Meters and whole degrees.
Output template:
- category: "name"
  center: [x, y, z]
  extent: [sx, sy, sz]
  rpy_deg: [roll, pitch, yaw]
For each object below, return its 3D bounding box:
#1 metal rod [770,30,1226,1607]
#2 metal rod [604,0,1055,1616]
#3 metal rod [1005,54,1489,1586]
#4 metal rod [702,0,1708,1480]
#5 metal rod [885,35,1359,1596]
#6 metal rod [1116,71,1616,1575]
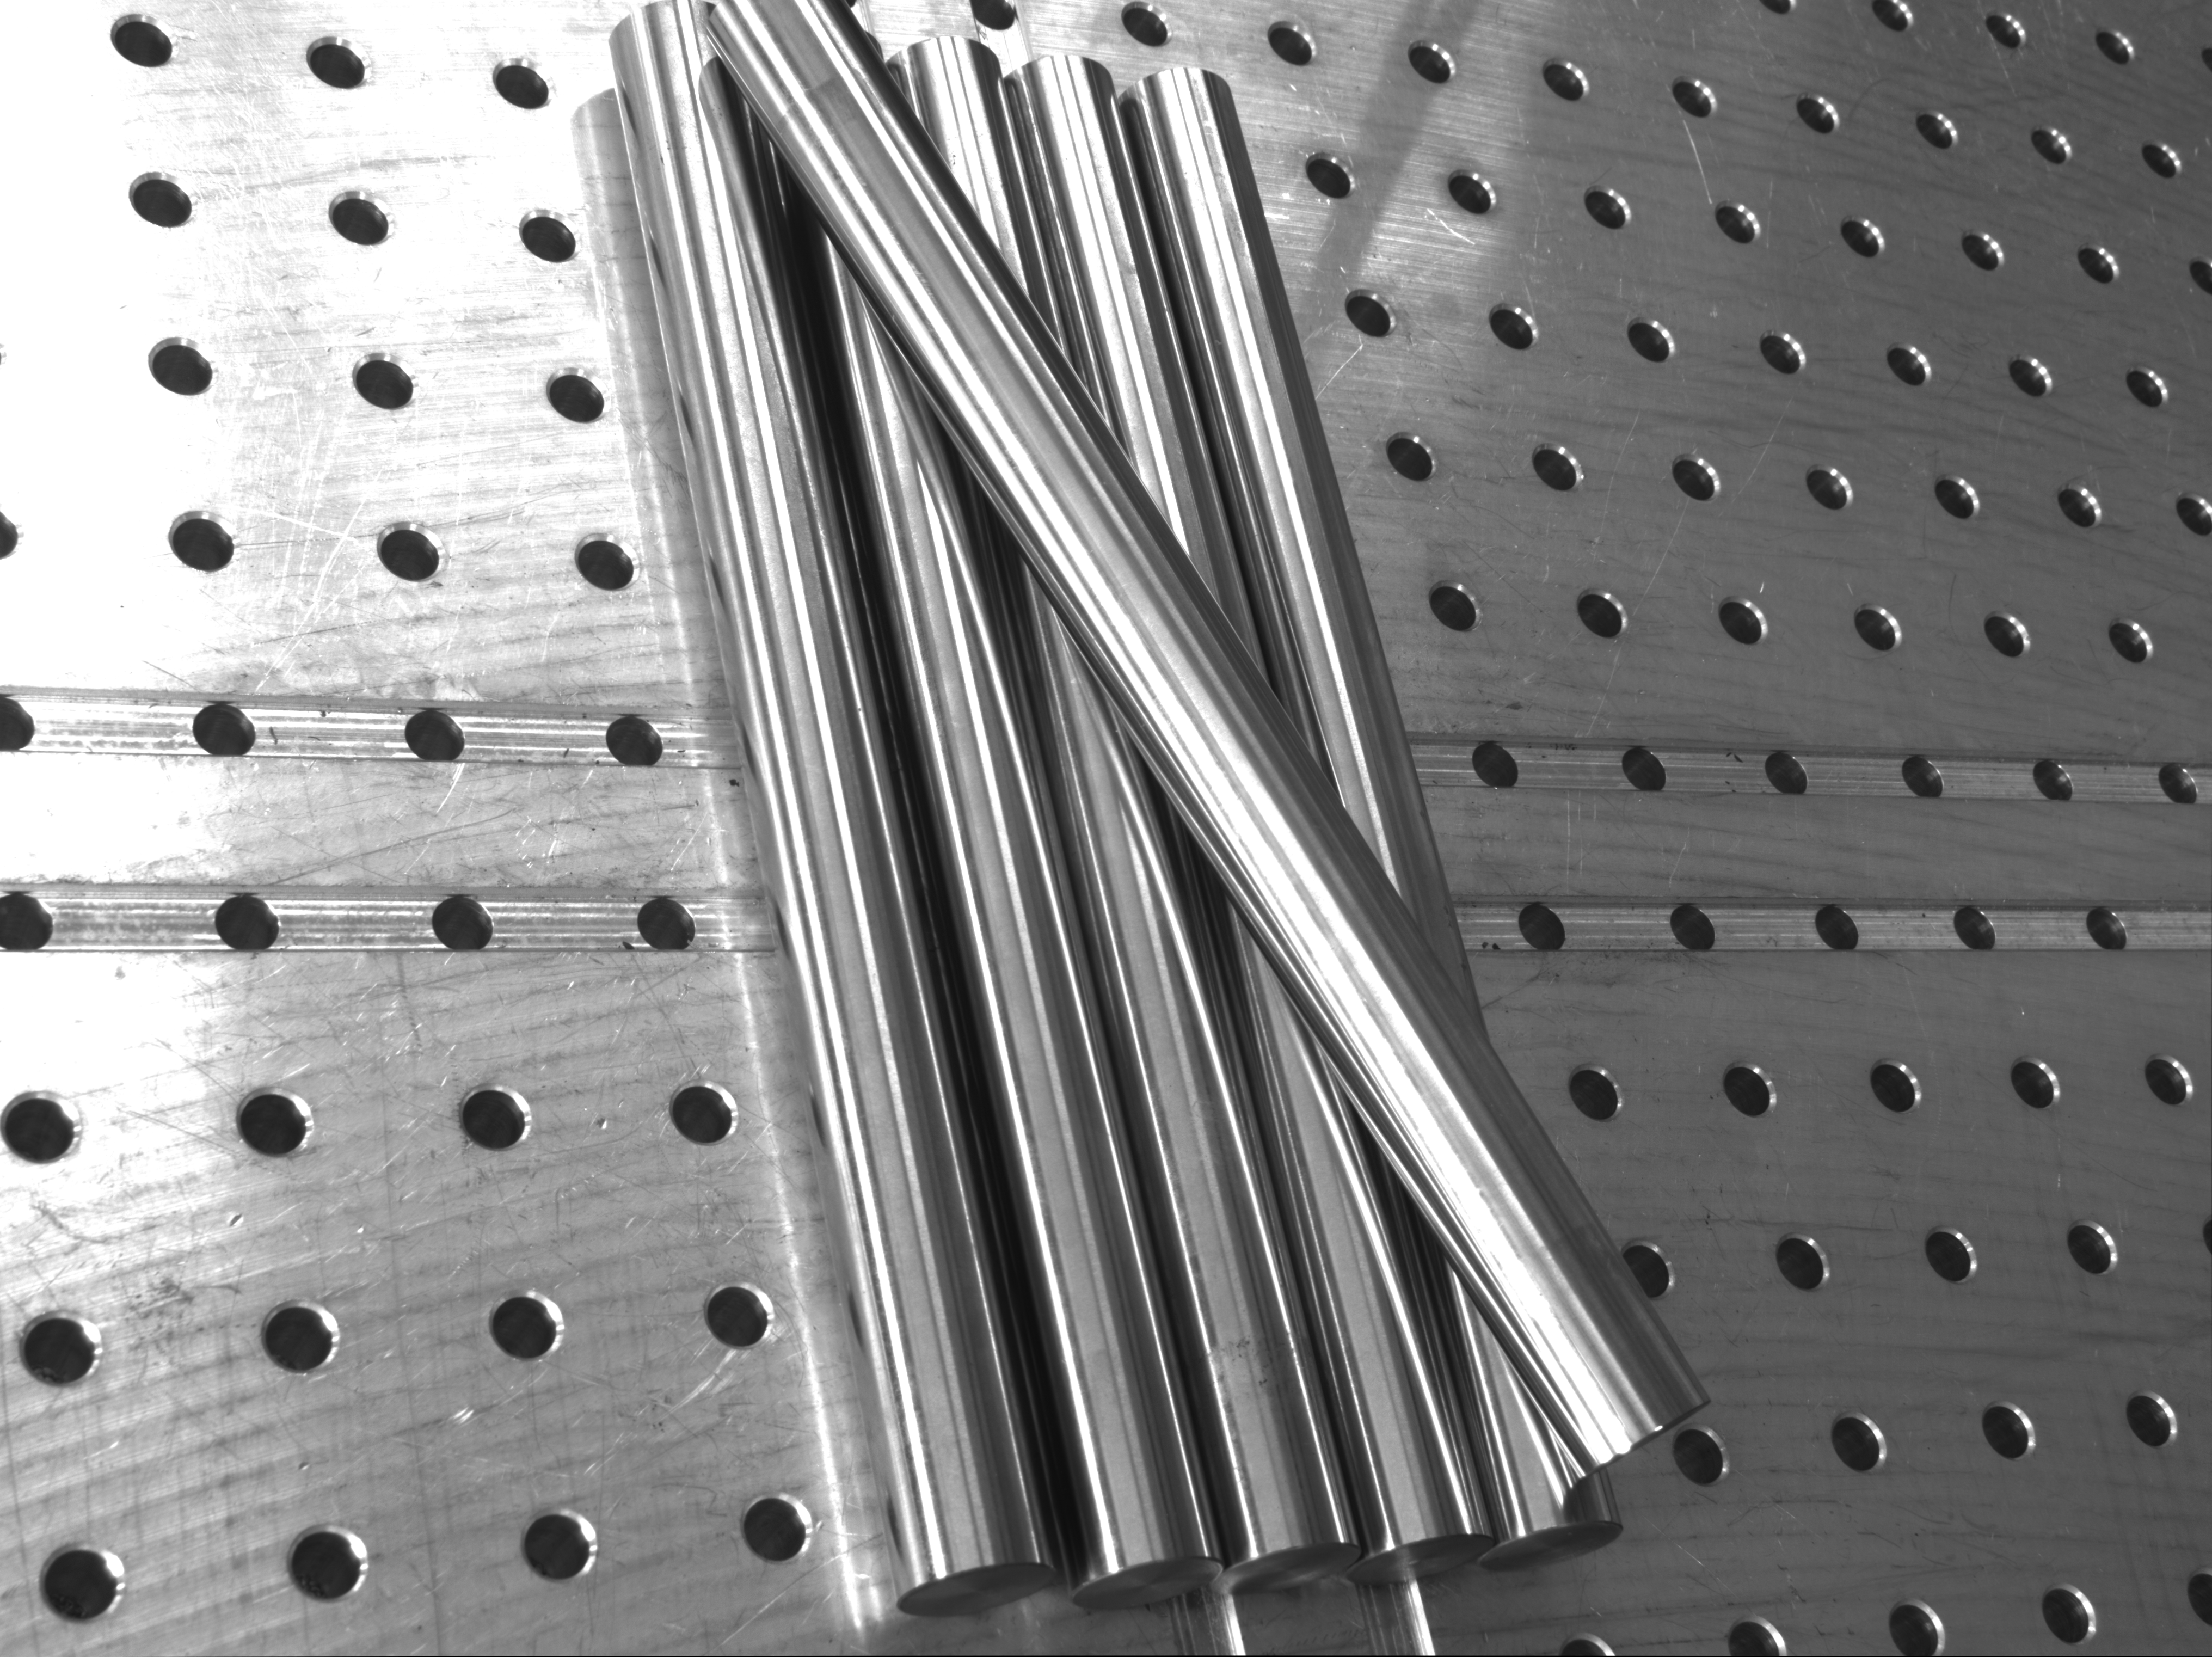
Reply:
- category: "metal rod"
  center: [-0.024, -0.014, 0.637]
  extent: [0.025, 0.025, 0.300]
  rpy_deg: [1, 61, -28]
- category: "metal rod"
  center: [-0.051, -0.016, 0.624]
  extent: [0.025, 0.025, 0.300]
  rpy_deg: [1, 61, -27]
- category: "metal rod"
  center: [0.019, -0.013, 0.661]
  extent: [0.025, 0.025, 0.300]
  rpy_deg: [1, 61, -28]
- category: "metal rod"
  center: [0.012, -0.025, 0.632]
  extent: [0.025, 0.025, 0.300]
  rpy_deg: [-21, 73, -36]
- category: "metal rod"
  center: [-0.003, -0.014, 0.648]
  extent: [0.025, 0.025, 0.300]
  rpy_deg: [1, 61, -28]
- category: "metal rod"
  center: [0.042, -0.012, 0.673]
  extent: [0.025, 0.025, 0.300]
  rpy_deg: [1, 61, -27]
